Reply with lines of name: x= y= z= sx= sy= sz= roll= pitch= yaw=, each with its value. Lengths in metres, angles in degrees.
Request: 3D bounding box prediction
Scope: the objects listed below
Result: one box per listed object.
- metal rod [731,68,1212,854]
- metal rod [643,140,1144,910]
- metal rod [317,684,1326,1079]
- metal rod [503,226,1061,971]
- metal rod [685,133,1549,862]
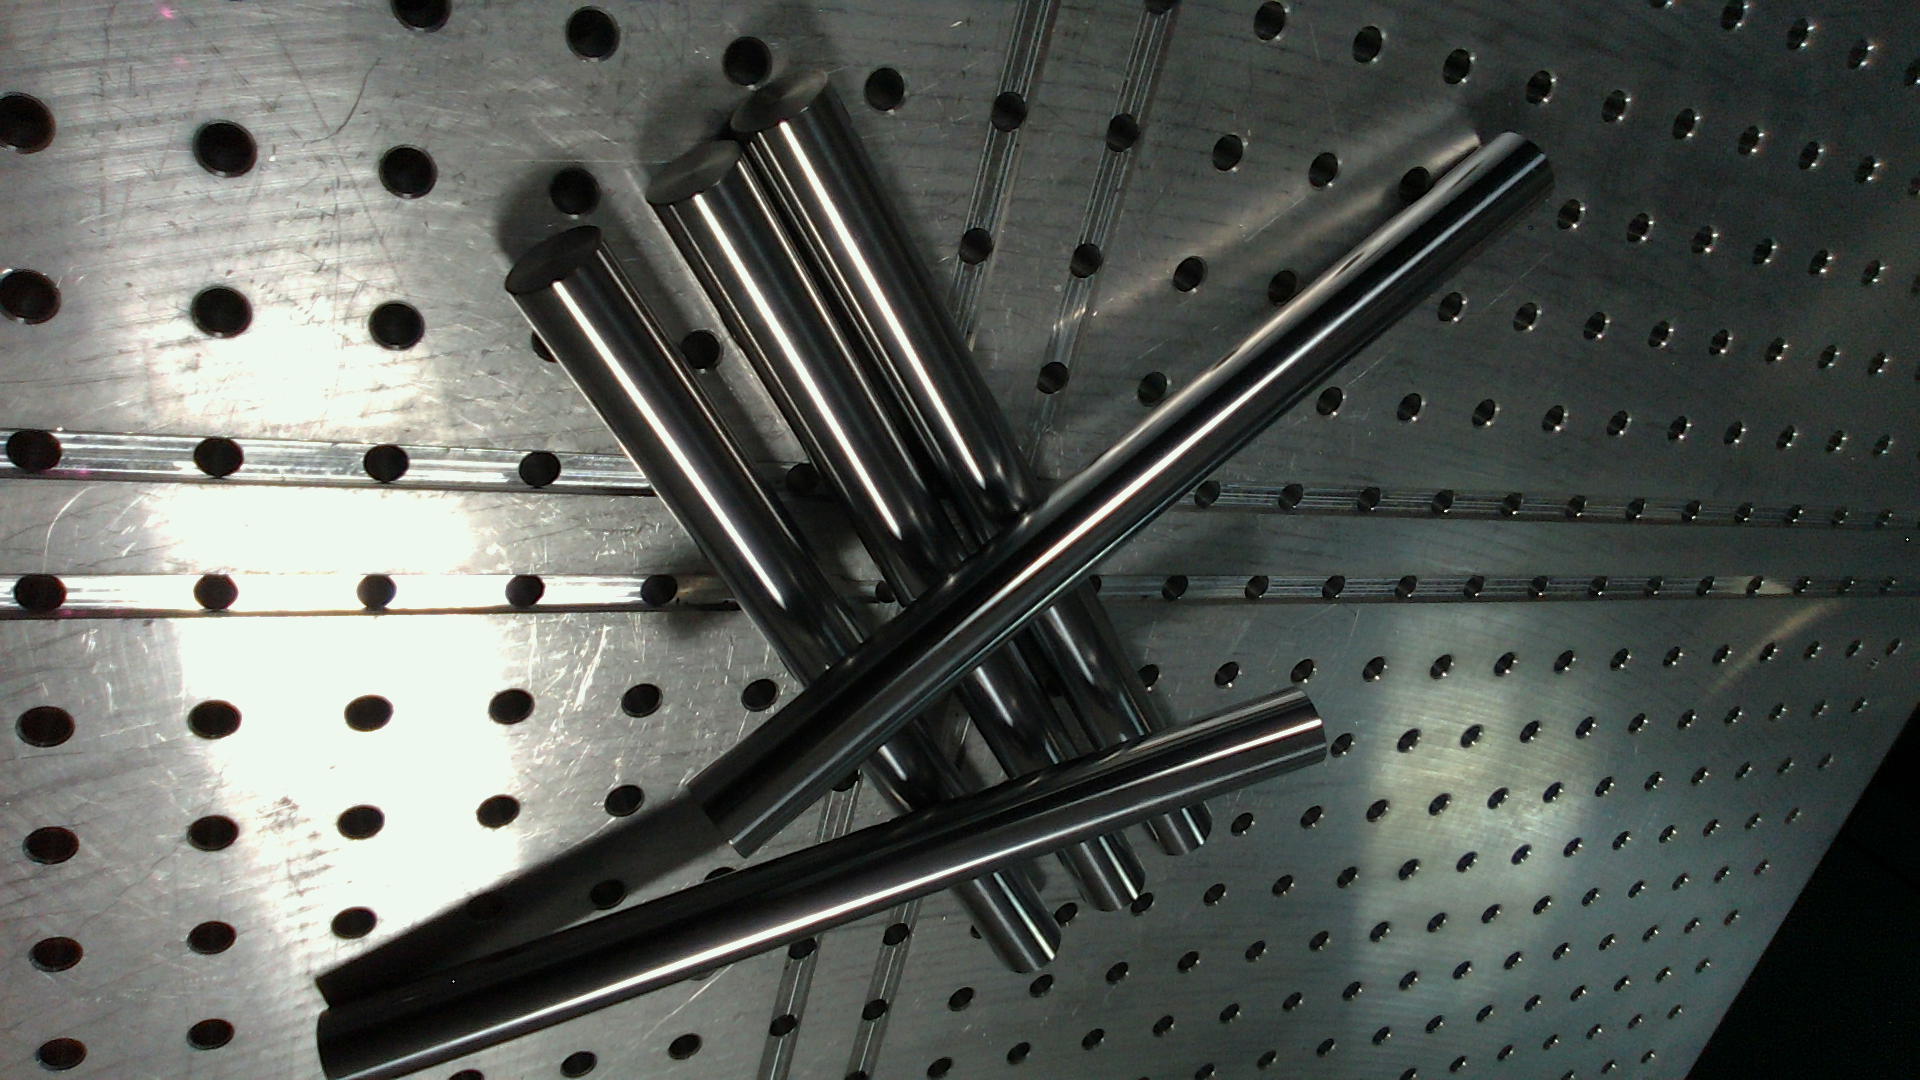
metal rod: x=0.019 y=0.002 z=0.403 sx=0.025 sy=0.025 sz=0.301 roll=-35 pitch=129 yaw=-5
metal rod: x=-0.003 y=0.020 z=0.403 sx=0.025 sy=0.025 sz=0.301 roll=-34 pitch=129 yaw=-6
metal rod: x=-0.033 y=0.101 z=0.409 sx=0.300 sy=0.025 sz=0.025 roll=-17 pitch=126 yaw=-9
metal rod: x=-0.033 y=0.040 z=0.399 sx=0.025 sy=0.025 sz=0.301 roll=-34 pitch=129 yaw=-6
metal rod: x=0.052 y=-0.020 z=0.382 sx=0.300 sy=0.025 sz=0.025 roll=-39 pitch=130 yaw=-12
